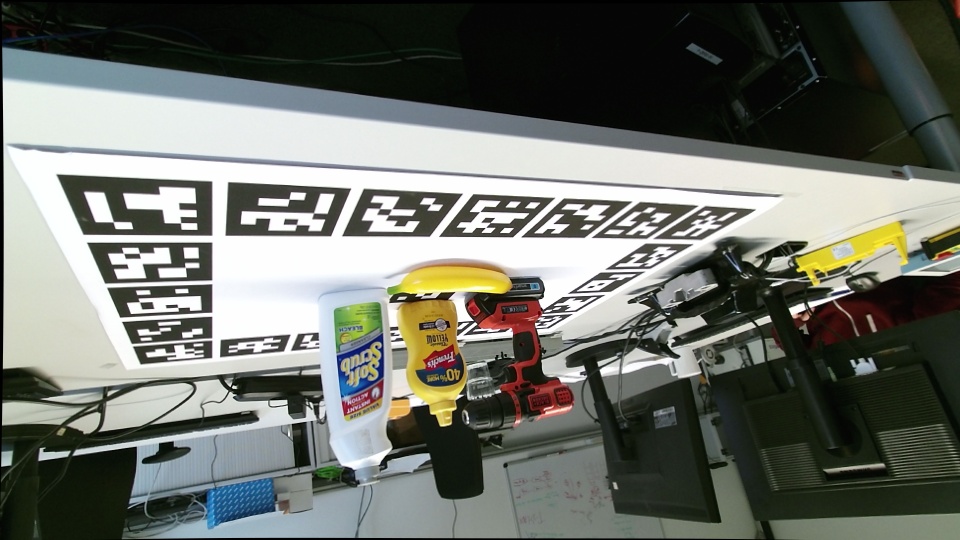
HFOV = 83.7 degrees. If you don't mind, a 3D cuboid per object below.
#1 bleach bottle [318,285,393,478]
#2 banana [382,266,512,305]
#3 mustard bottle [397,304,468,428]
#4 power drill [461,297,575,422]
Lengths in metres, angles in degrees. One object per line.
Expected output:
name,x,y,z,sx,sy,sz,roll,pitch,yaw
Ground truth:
bleach bottle,-0.158,0.147,0.726,0.103,0.249,0.068,-6,156,-19
banana,-0.033,0.022,0.748,0.198,0.038,0.074,-2,151,-30
mustard bottle,-0.069,0.150,0.839,0.096,0.190,0.058,0,155,-26
power drill,0.051,0.138,0.828,0.185,0.186,0.057,-1,162,-22
